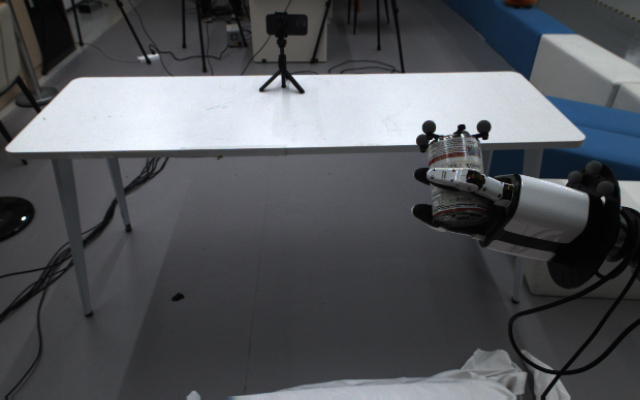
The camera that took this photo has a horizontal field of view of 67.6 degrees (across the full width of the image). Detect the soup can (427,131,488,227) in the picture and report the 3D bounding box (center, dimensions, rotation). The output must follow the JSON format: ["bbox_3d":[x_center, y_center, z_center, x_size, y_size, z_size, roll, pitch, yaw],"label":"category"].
[{"bbox_3d":[0.173,-0.023,0.606,0.067,0.067,0.101,1,73,-2],"label":"soup can"}]
